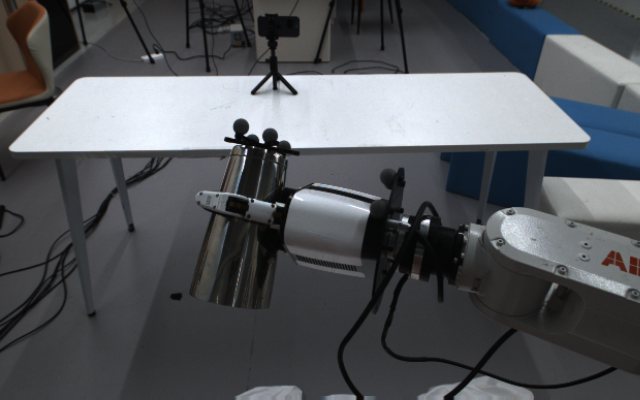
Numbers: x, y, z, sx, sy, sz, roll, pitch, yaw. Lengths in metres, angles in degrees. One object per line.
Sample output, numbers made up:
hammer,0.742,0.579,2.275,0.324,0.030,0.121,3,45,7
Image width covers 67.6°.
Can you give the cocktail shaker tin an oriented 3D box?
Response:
cocktail shaker tin,-0.083,0.030,0.550,0.093,0.170,0.093,11,-5,1
